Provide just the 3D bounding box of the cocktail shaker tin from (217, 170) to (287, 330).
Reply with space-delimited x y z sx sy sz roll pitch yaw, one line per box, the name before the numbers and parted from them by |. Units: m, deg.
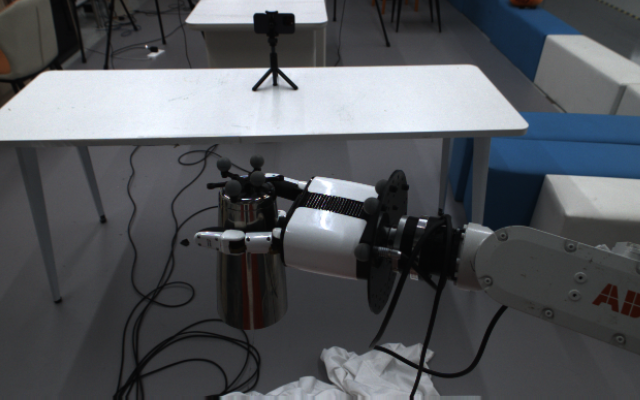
cocktail shaker tin | -0.084 0.063 0.598 0.093 0.170 0.093 1 27 0
